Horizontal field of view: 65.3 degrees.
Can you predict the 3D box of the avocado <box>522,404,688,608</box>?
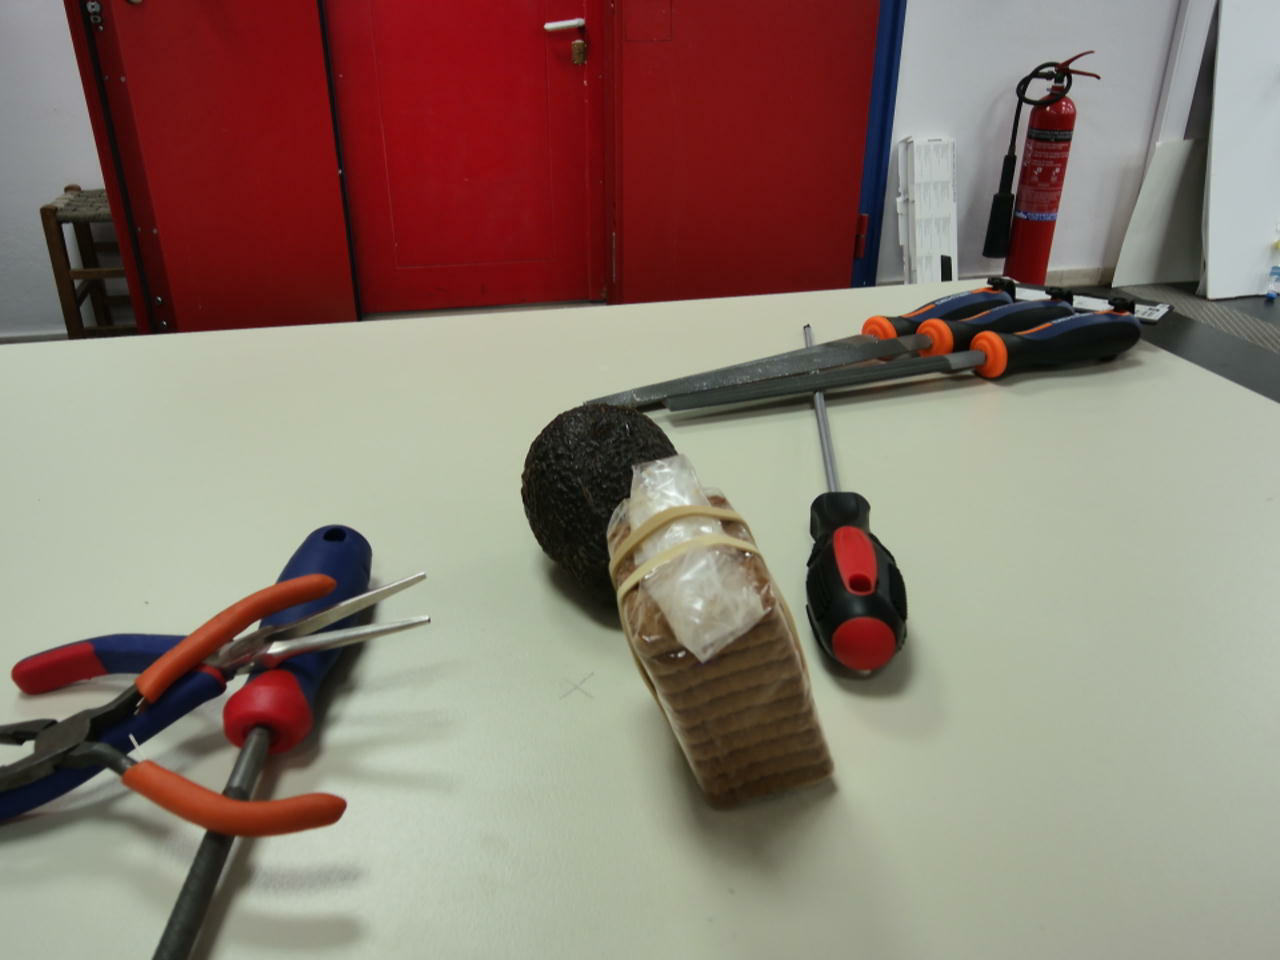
[{"bbox_3d":[-0.016,0.006,0.414,0.070,0.069,0.090,3,25,11],"label":"avocado"}]
